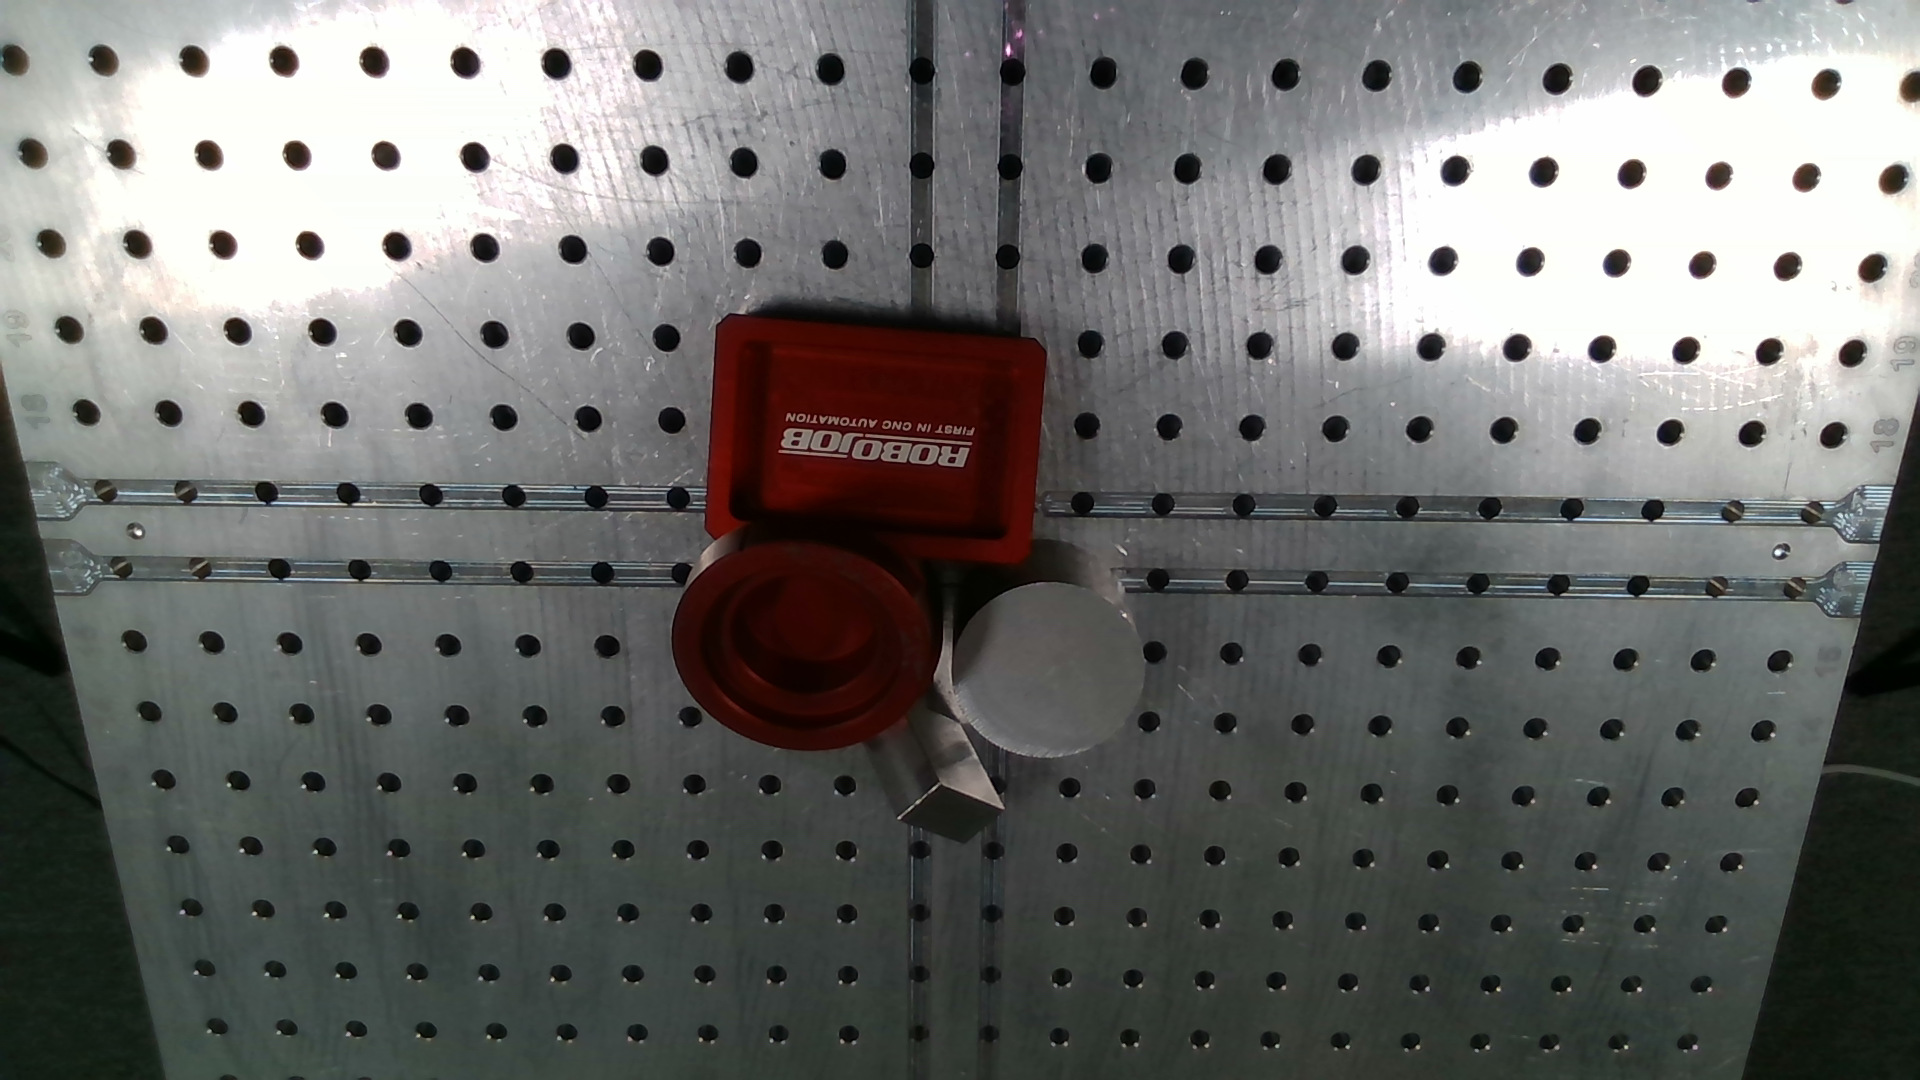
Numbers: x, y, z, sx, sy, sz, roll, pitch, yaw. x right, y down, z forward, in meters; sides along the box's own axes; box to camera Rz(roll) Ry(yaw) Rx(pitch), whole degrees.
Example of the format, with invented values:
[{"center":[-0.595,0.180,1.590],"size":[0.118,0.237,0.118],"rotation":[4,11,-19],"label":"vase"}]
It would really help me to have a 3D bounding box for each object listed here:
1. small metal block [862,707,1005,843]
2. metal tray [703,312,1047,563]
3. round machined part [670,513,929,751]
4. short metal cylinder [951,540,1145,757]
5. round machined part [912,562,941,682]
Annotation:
[{"center":[-0.013,0.100,0.600],"size":[0.025,0.050,0.050],"rotation":[-42,140,14],"label":"small metal block"},{"center":[-0.034,-0.041,0.557],"size":[0.130,0.030,0.090],"rotation":[4,96,-2],"label":"metal tray"},{"center":[-0.061,0.032,0.539],"size":[0.098,0.042,0.098],"rotation":[1,121,2],"label":"round machined part"},{"center":[0.036,0.046,0.590],"size":[0.080,0.050,0.080],"rotation":[0,110,0],"label":"short metal cylinder"},{"center":[-0.057,0.041,0.592],"size":[0.098,0.042,0.098],"rotation":[0,110,0],"label":"round machined part"}]
